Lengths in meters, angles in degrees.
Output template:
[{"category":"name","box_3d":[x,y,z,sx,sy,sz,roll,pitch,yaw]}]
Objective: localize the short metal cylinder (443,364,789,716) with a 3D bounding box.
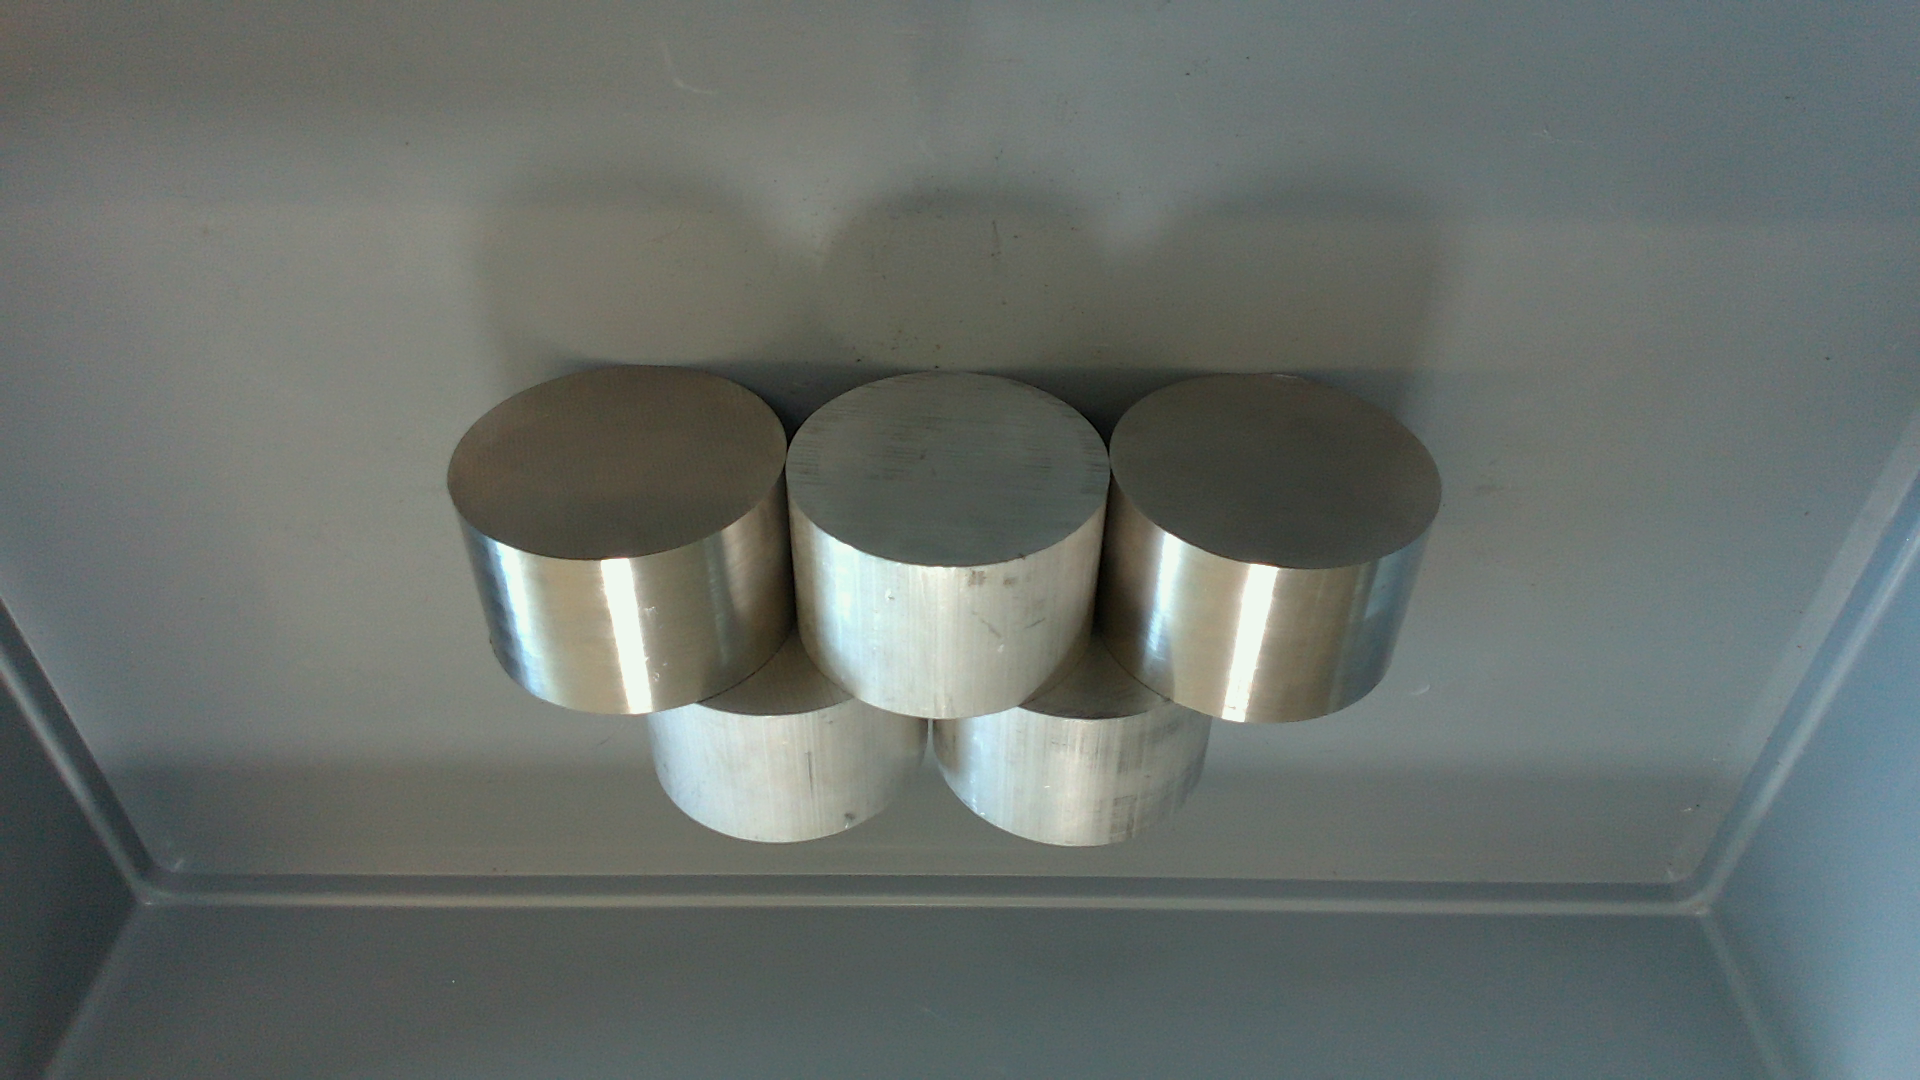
[{"category":"short metal cylinder","box_3d":[-0.084,-0.002,0.351,0.080,0.080,0.050,1,130,-1]}]

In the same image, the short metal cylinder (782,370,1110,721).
[{"category":"short metal cylinder","box_3d":[-0.004,0.000,0.352,0.080,0.080,0.050,1,130,-1]}]

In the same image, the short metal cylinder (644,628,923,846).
[{"category":"short metal cylinder","box_3d":[-0.050,0.037,0.384,0.080,0.080,0.050,1,130,-1]}]

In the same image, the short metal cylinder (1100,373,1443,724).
[{"category":"short metal cylinder","box_3d":[0.077,0.000,0.354,0.080,0.080,0.050,1,130,-1]}]

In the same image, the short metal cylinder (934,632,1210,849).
[{"category":"short metal cylinder","box_3d":[0.032,0.039,0.386,0.080,0.080,0.050,1,130,-1]}]
